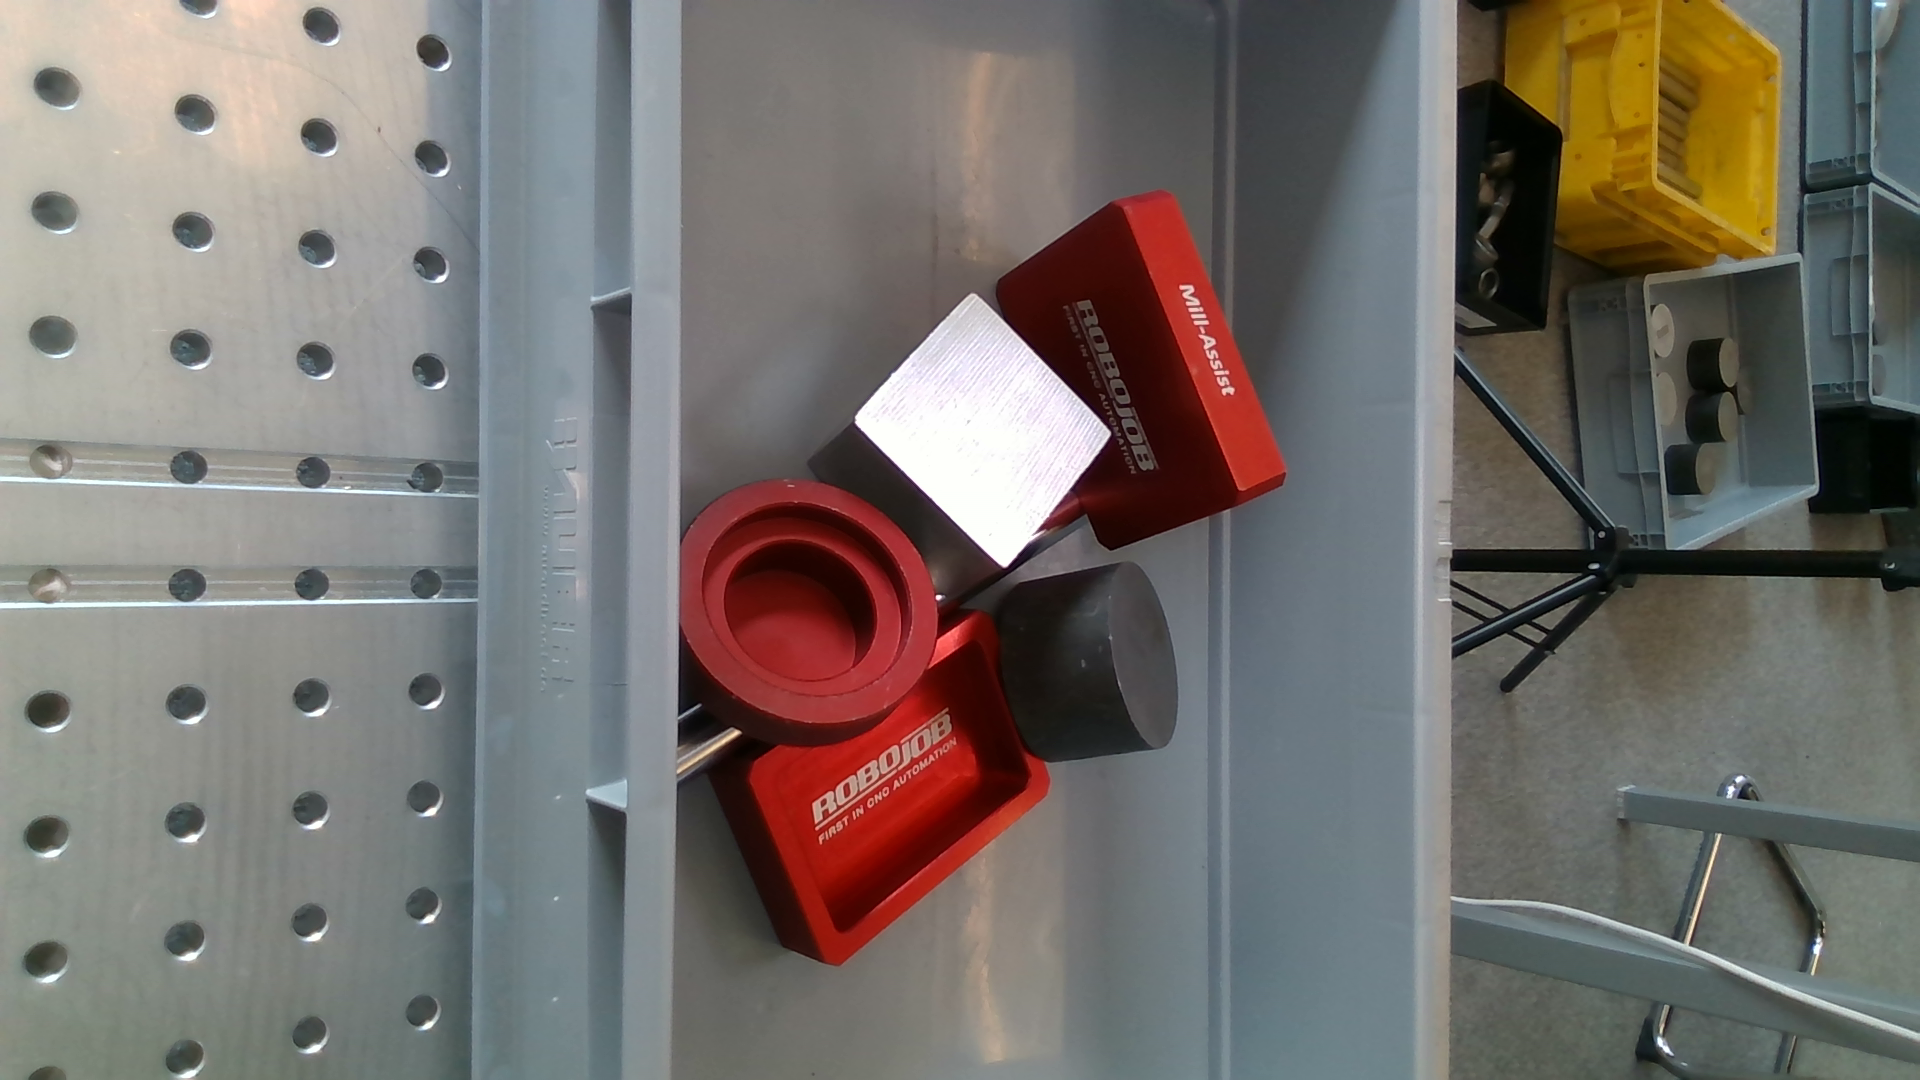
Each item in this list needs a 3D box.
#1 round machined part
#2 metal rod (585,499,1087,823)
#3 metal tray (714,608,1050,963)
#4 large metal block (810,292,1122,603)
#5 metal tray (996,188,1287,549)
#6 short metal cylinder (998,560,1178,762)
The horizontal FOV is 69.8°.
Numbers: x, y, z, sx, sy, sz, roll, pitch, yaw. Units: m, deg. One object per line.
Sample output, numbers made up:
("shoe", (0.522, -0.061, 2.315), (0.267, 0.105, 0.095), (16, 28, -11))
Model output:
("round machined part", (-0.060, 0.029, 0.501), (0.098, 0.042, 0.098), (12, 57, -19))
("metal rod", (-0.019, 0.024, 0.565), (0.300, 0.025, 0.025), (-32, 110, -36))
("metal tray", (-0.028, 0.094, 0.556), (0.130, 0.030, 0.090), (-32, 110, -36))
("large metal block", (0.003, -0.036, 0.544), (0.080, 0.050, 0.080), (46, 61, -10))
("metal tray", (0.074, -0.070, 0.583), (0.030, 0.090, 0.130), (-22, 90, -36))
("short metal cylinder", (0.057, 0.053, 0.595), (0.080, 0.050, 0.080), (38, 46, -54))
